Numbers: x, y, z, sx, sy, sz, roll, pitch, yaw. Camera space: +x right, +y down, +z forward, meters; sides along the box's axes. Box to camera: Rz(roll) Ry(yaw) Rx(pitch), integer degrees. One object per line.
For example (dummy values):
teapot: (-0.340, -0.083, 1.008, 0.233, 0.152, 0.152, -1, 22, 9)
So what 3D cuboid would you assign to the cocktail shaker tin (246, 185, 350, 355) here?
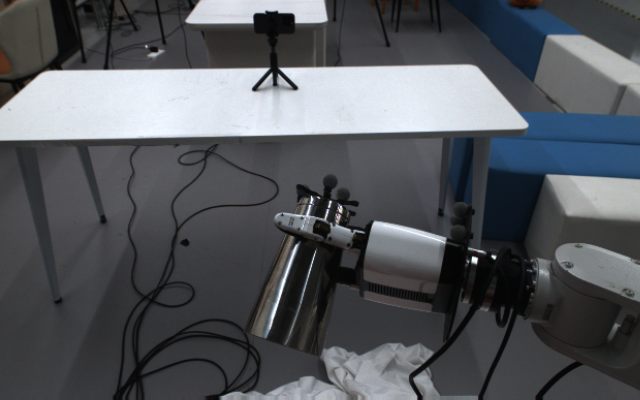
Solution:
cocktail shaker tin: (-0.018, 0.084, 0.570, 0.093, 0.093, 0.170, 13, 71, 16)
